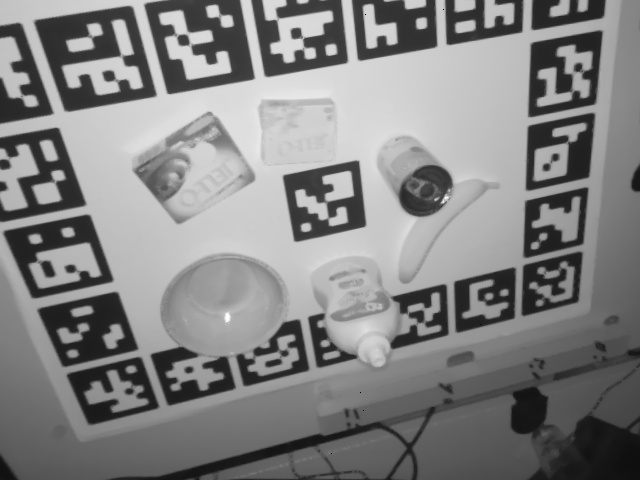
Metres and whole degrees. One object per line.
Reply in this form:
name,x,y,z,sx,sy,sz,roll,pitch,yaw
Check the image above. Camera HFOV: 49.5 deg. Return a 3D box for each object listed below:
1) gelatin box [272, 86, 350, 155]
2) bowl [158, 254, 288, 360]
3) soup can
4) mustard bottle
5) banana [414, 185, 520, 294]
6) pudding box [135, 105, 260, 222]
gelatin box,-0.010,-0.140,0.812,0.090,0.030,0.072,-5,117,-11
bowl,-0.125,0.076,0.894,0.163,0.055,0.160,-7,121,-11
soup can,0.136,-0.073,0.831,0.068,0.102,0.067,-5,122,-7
mustard bottle,0.058,0.099,0.855,0.097,0.192,0.058,-10,124,-6
banana,0.182,-0.006,0.927,0.075,0.039,0.195,25,111,-35
pudding box,-0.140,-0.088,0.805,0.113,0.039,0.090,-31,115,5
